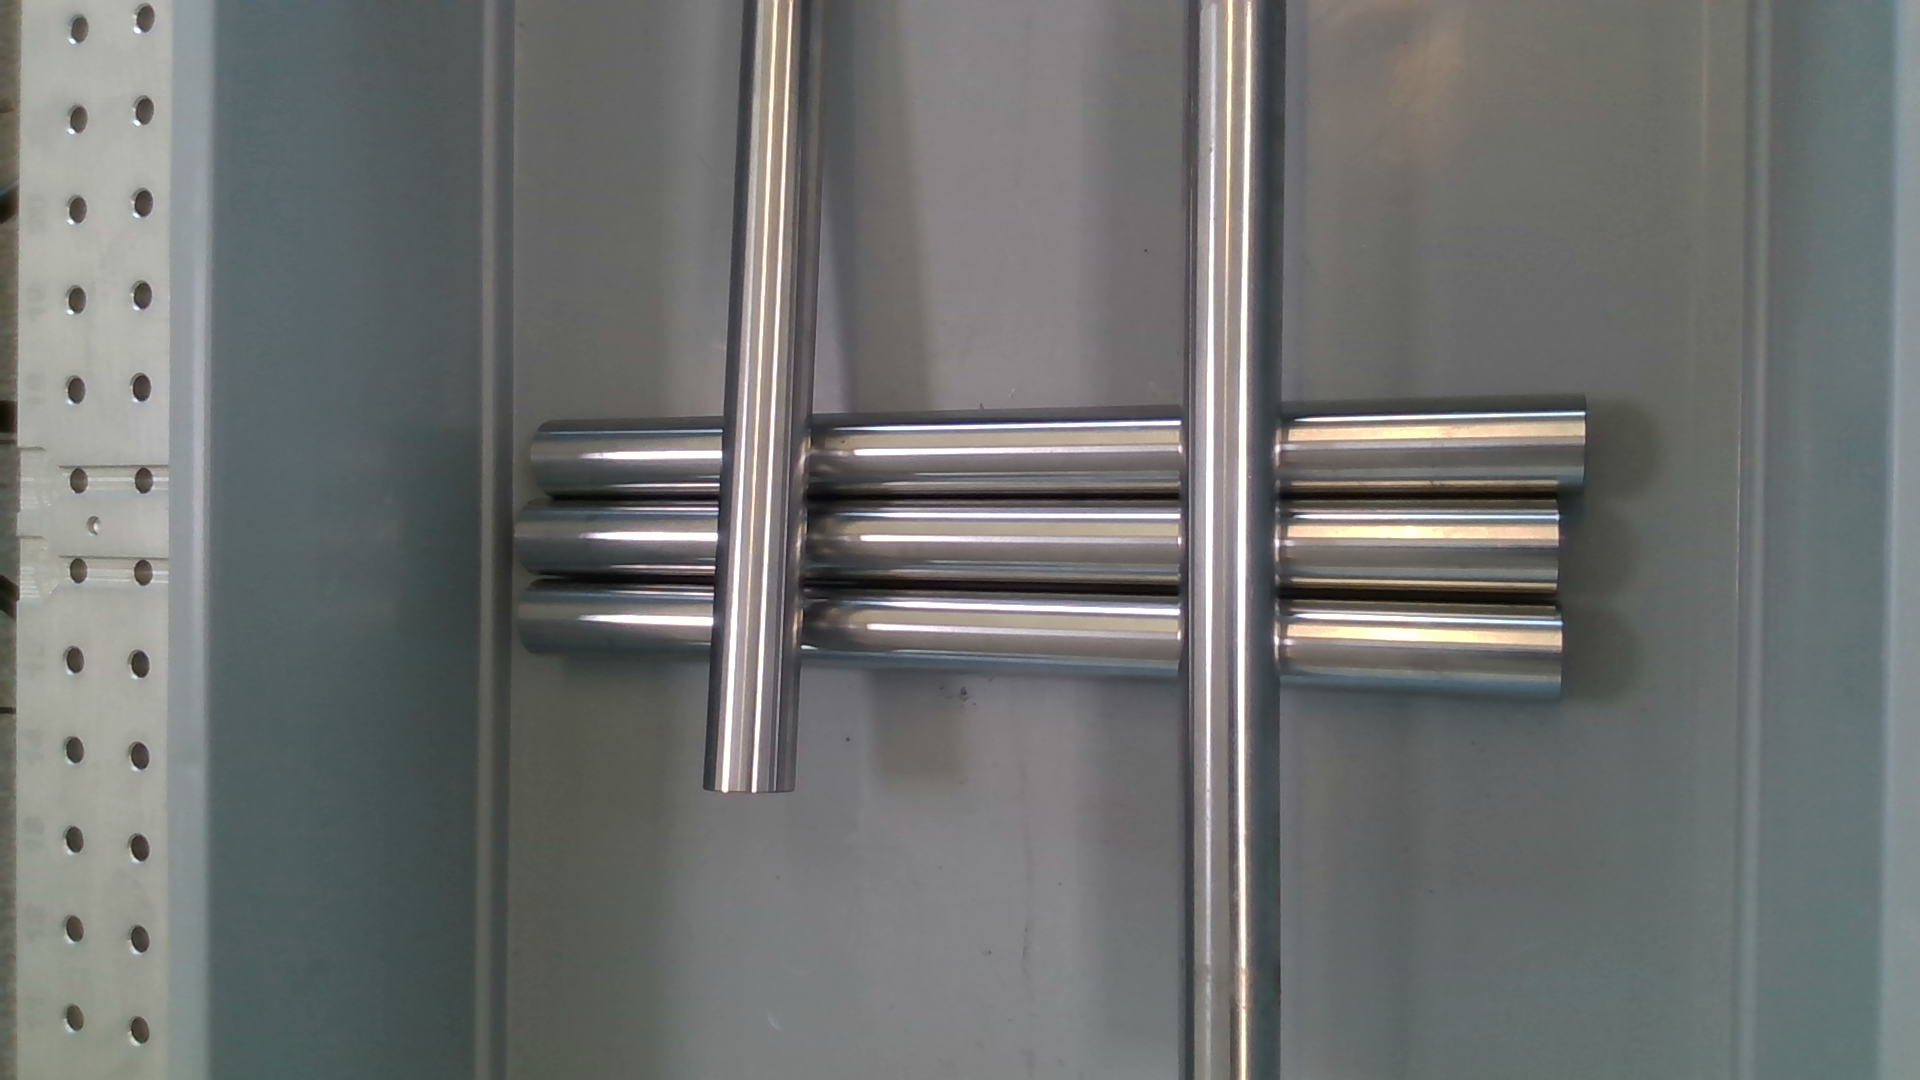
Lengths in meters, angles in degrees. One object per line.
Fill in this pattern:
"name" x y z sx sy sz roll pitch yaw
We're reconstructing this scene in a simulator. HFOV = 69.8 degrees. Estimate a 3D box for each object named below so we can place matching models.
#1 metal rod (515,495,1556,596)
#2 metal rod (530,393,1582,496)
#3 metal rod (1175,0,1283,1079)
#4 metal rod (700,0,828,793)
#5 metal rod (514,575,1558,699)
"metal rod" 0.006 0.000 0.392 0.300 0.025 0.025 1 90 20
"metal rod" 0.011 -0.025 0.390 0.300 0.025 0.025 0 90 20
"metal rod" 0.067 -0.013 0.342 0.025 0.025 0.300 0 90 20
"metal rod" -0.053 -0.081 0.393 0.025 0.025 0.300 0 83 20
"metal rod" 0.006 0.025 0.391 0.300 0.025 0.025 1 90 20
